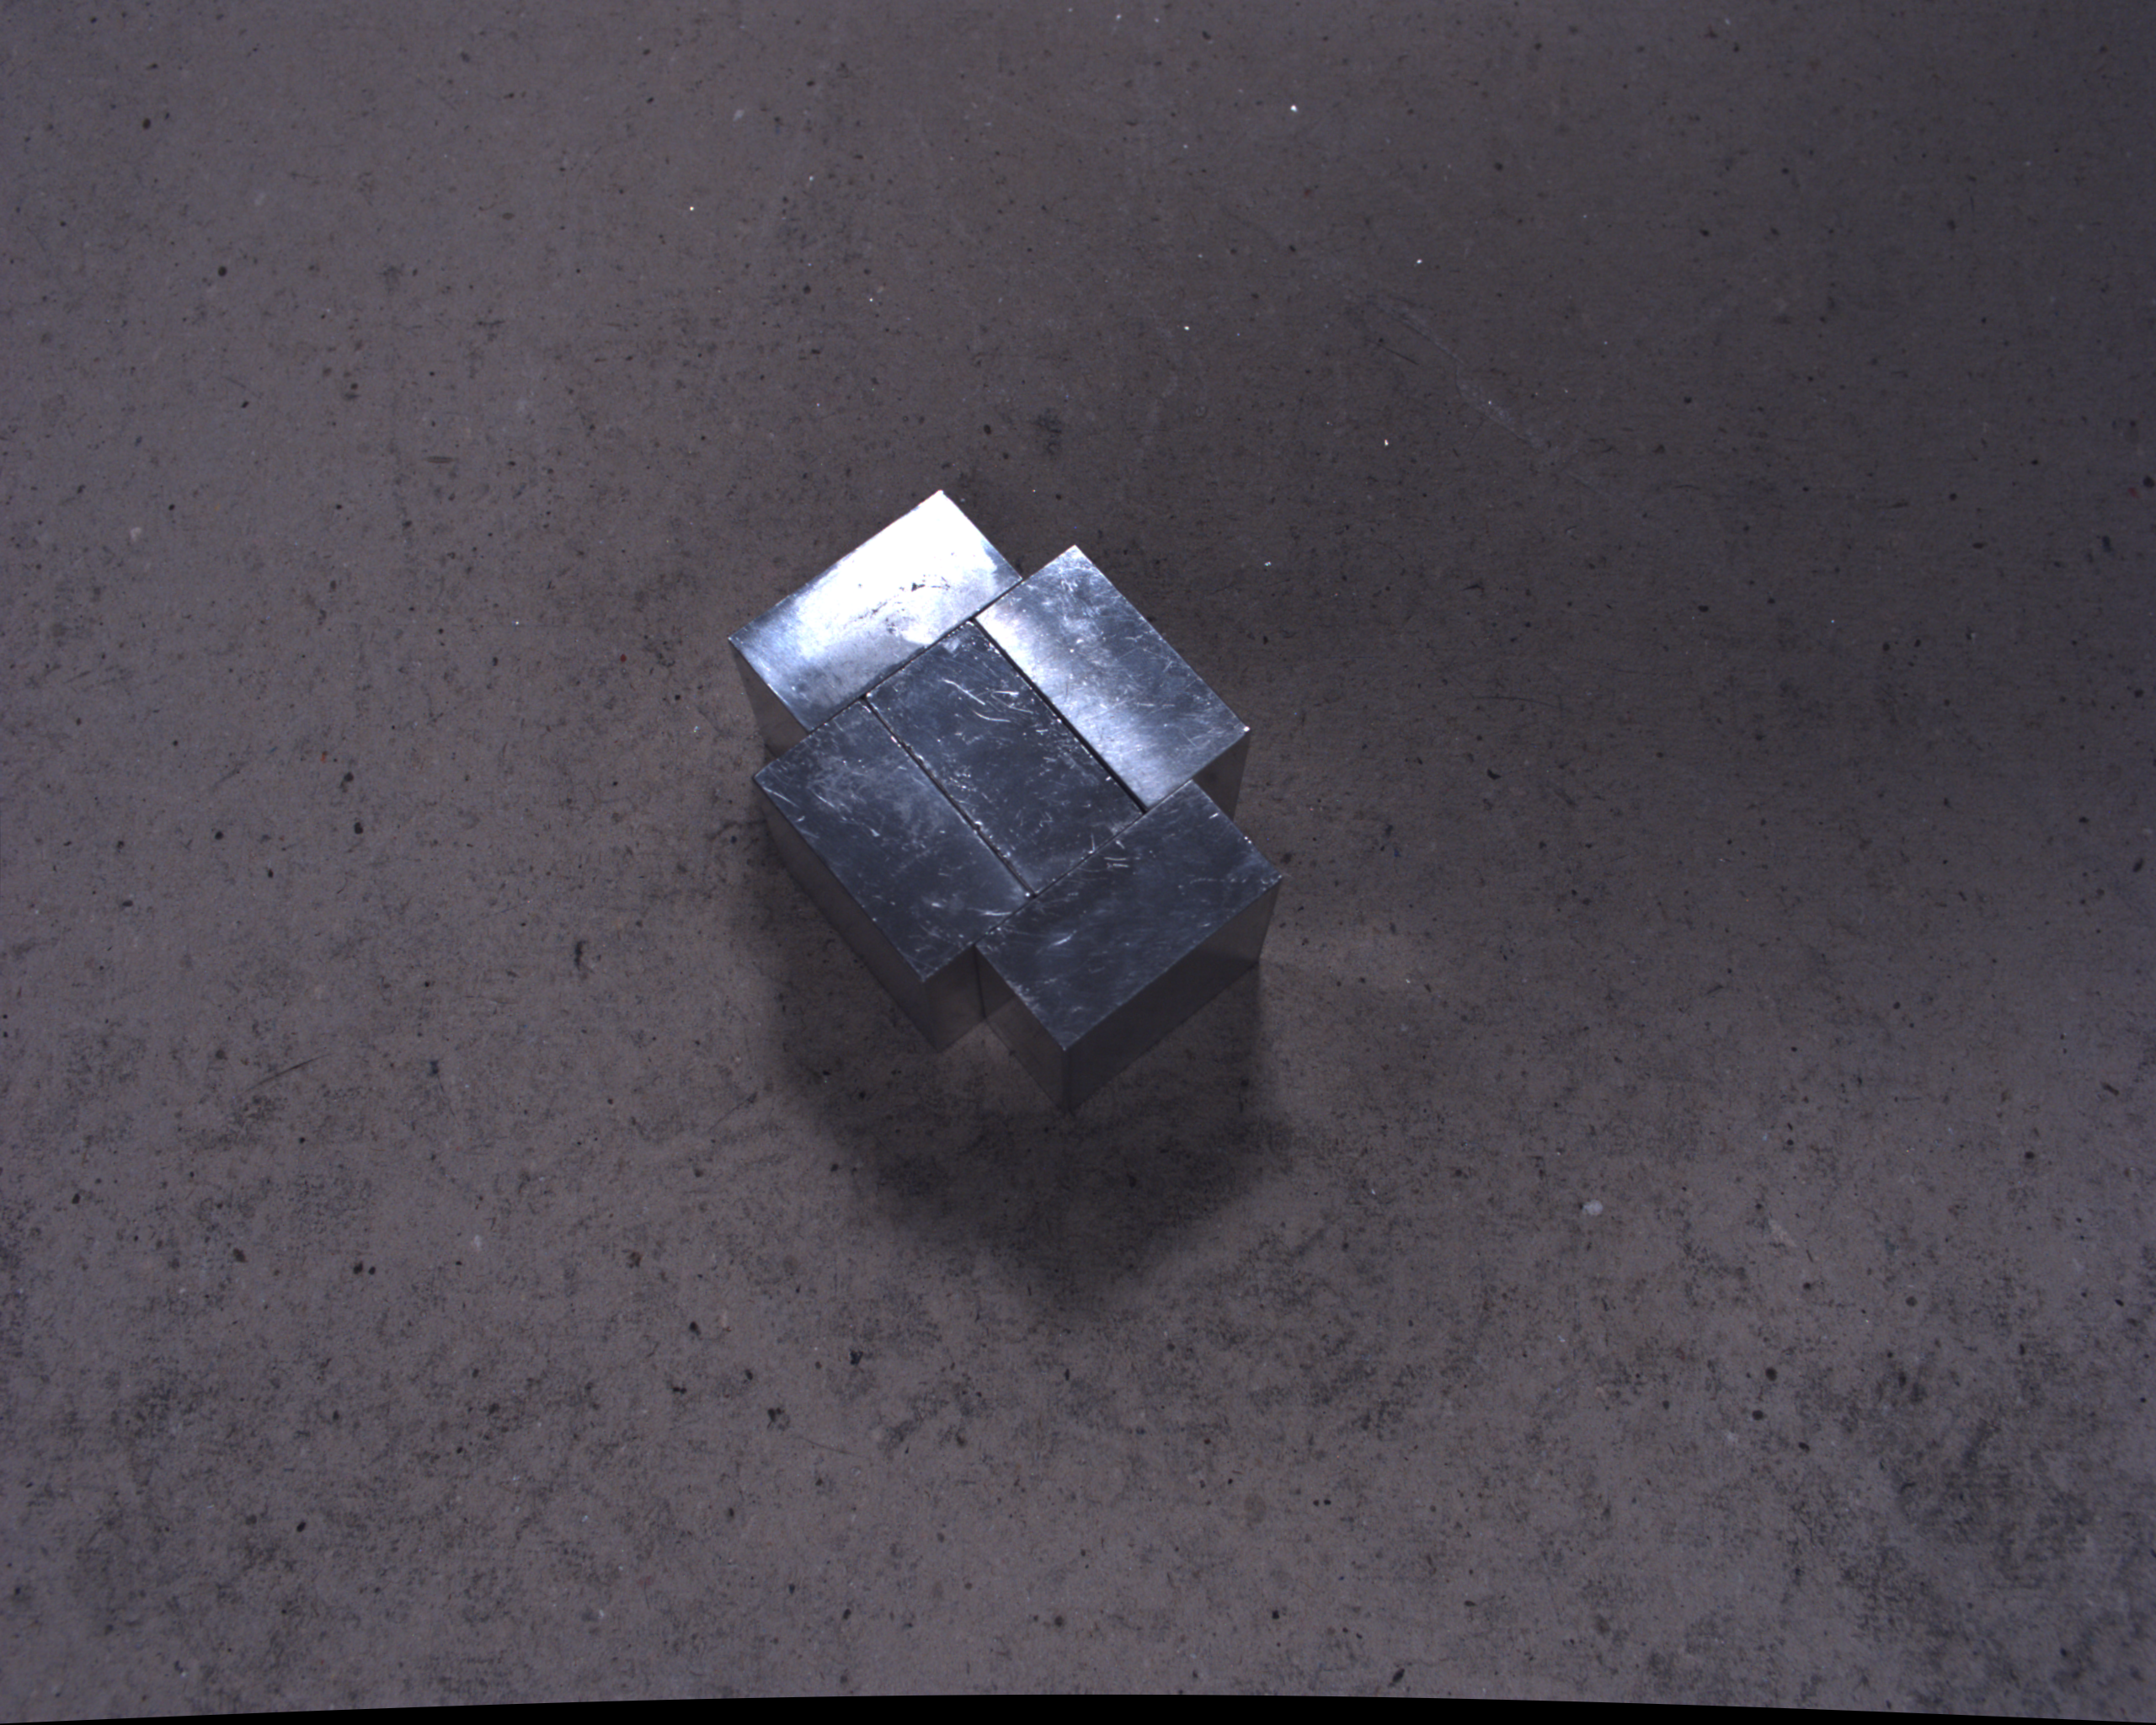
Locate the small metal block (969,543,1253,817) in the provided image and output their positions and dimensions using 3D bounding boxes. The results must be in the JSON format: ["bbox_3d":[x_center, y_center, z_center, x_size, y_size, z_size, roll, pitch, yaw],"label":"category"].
[{"bbox_3d":[0.006,-0.026,0.405,0.025,0.050,0.050,-39,75,-13],"label":"small metal block"}]

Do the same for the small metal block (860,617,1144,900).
[{"bbox_3d":[-0.014,-0.011,0.399,0.025,0.050,0.050,-38,75,-13],"label":"small metal block"}]

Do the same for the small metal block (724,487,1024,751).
[{"bbox_3d":[-0.038,-0.039,0.409,0.050,0.050,0.025,-37,75,-13],"label":"small metal block"}]

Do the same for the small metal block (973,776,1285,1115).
[{"bbox_3d":[0.009,0.017,0.389,0.050,0.050,0.025,-37,75,-13],"label":"small metal block"}]

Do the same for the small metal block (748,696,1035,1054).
[{"bbox_3d":[-0.033,0.004,0.394,0.025,0.050,0.050,-38,75,-13],"label":"small metal block"}]
